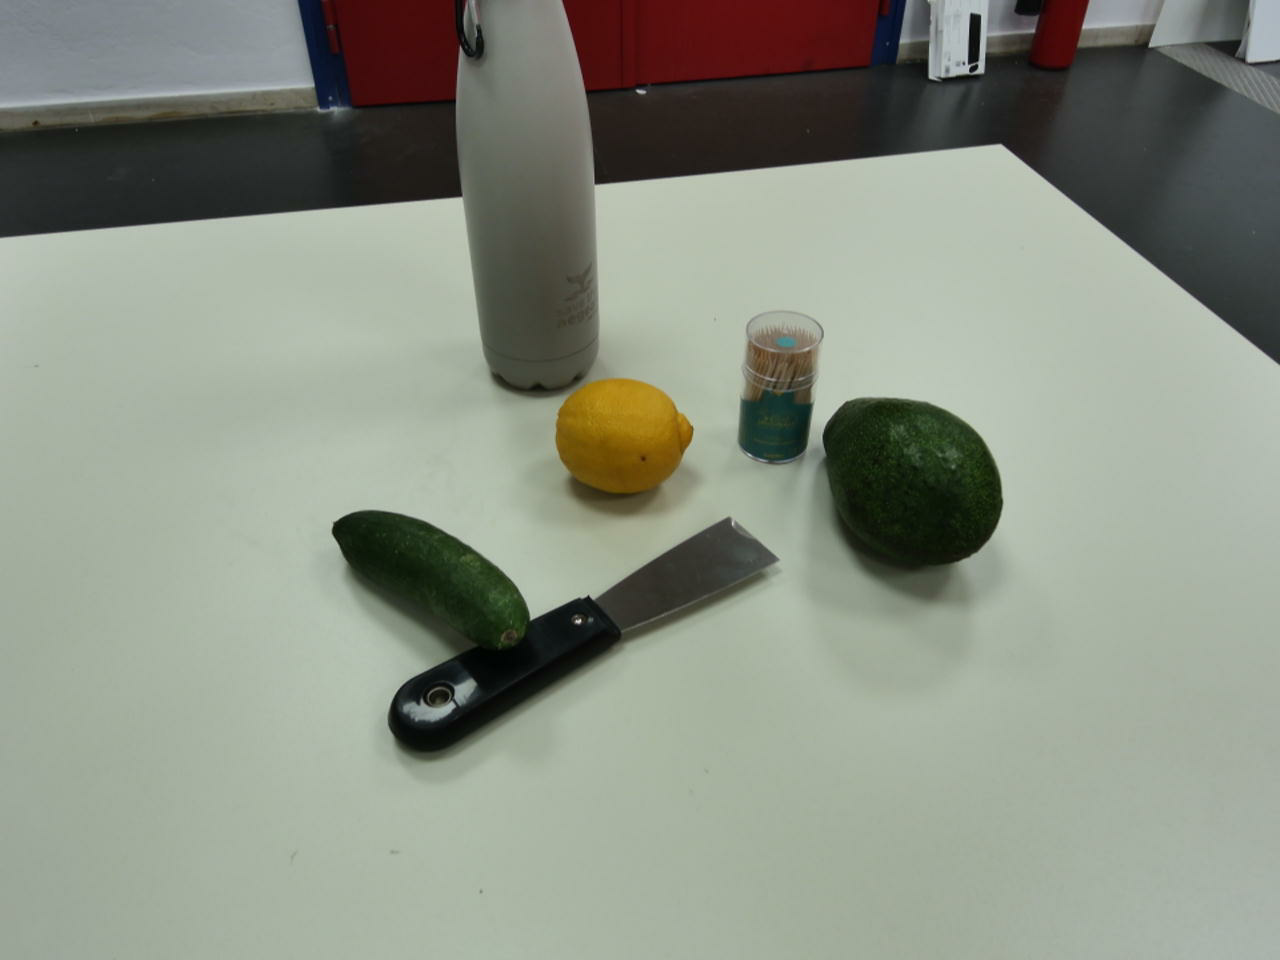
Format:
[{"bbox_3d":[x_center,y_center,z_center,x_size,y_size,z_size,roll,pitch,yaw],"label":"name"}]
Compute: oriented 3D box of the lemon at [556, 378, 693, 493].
[{"bbox_3d":[-0.010,-0.023,0.520,0.067,0.059,0.060,20,43,22],"label":"lemon"}]
